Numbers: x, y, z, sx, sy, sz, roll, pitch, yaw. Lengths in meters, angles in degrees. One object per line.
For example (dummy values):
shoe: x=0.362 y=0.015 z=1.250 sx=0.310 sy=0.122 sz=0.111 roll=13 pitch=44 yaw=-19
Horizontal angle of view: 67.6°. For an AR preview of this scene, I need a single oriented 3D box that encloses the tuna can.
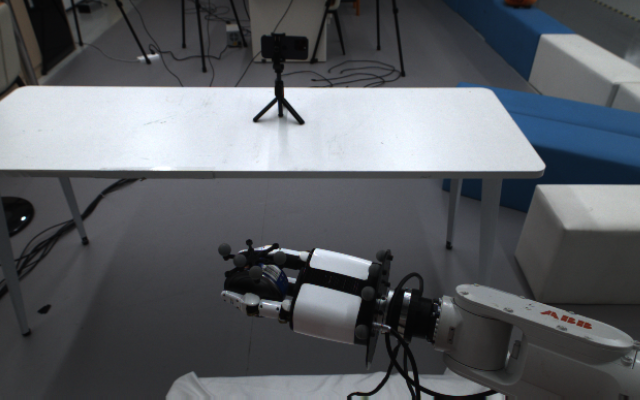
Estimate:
tuna can: x=-0.086 y=0.119 z=0.673 sx=0.085 sy=0.085 sz=0.034 roll=11 pitch=34 yaw=12
